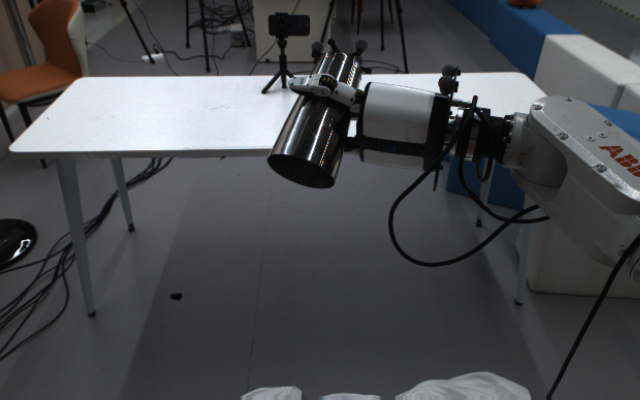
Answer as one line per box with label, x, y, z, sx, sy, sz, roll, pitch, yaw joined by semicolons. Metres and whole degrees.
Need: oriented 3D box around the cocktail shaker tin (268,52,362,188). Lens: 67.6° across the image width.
cocktail shaker tin;0.002;-0.112;0.650;0.093;0.093;0.170;13;70;15
